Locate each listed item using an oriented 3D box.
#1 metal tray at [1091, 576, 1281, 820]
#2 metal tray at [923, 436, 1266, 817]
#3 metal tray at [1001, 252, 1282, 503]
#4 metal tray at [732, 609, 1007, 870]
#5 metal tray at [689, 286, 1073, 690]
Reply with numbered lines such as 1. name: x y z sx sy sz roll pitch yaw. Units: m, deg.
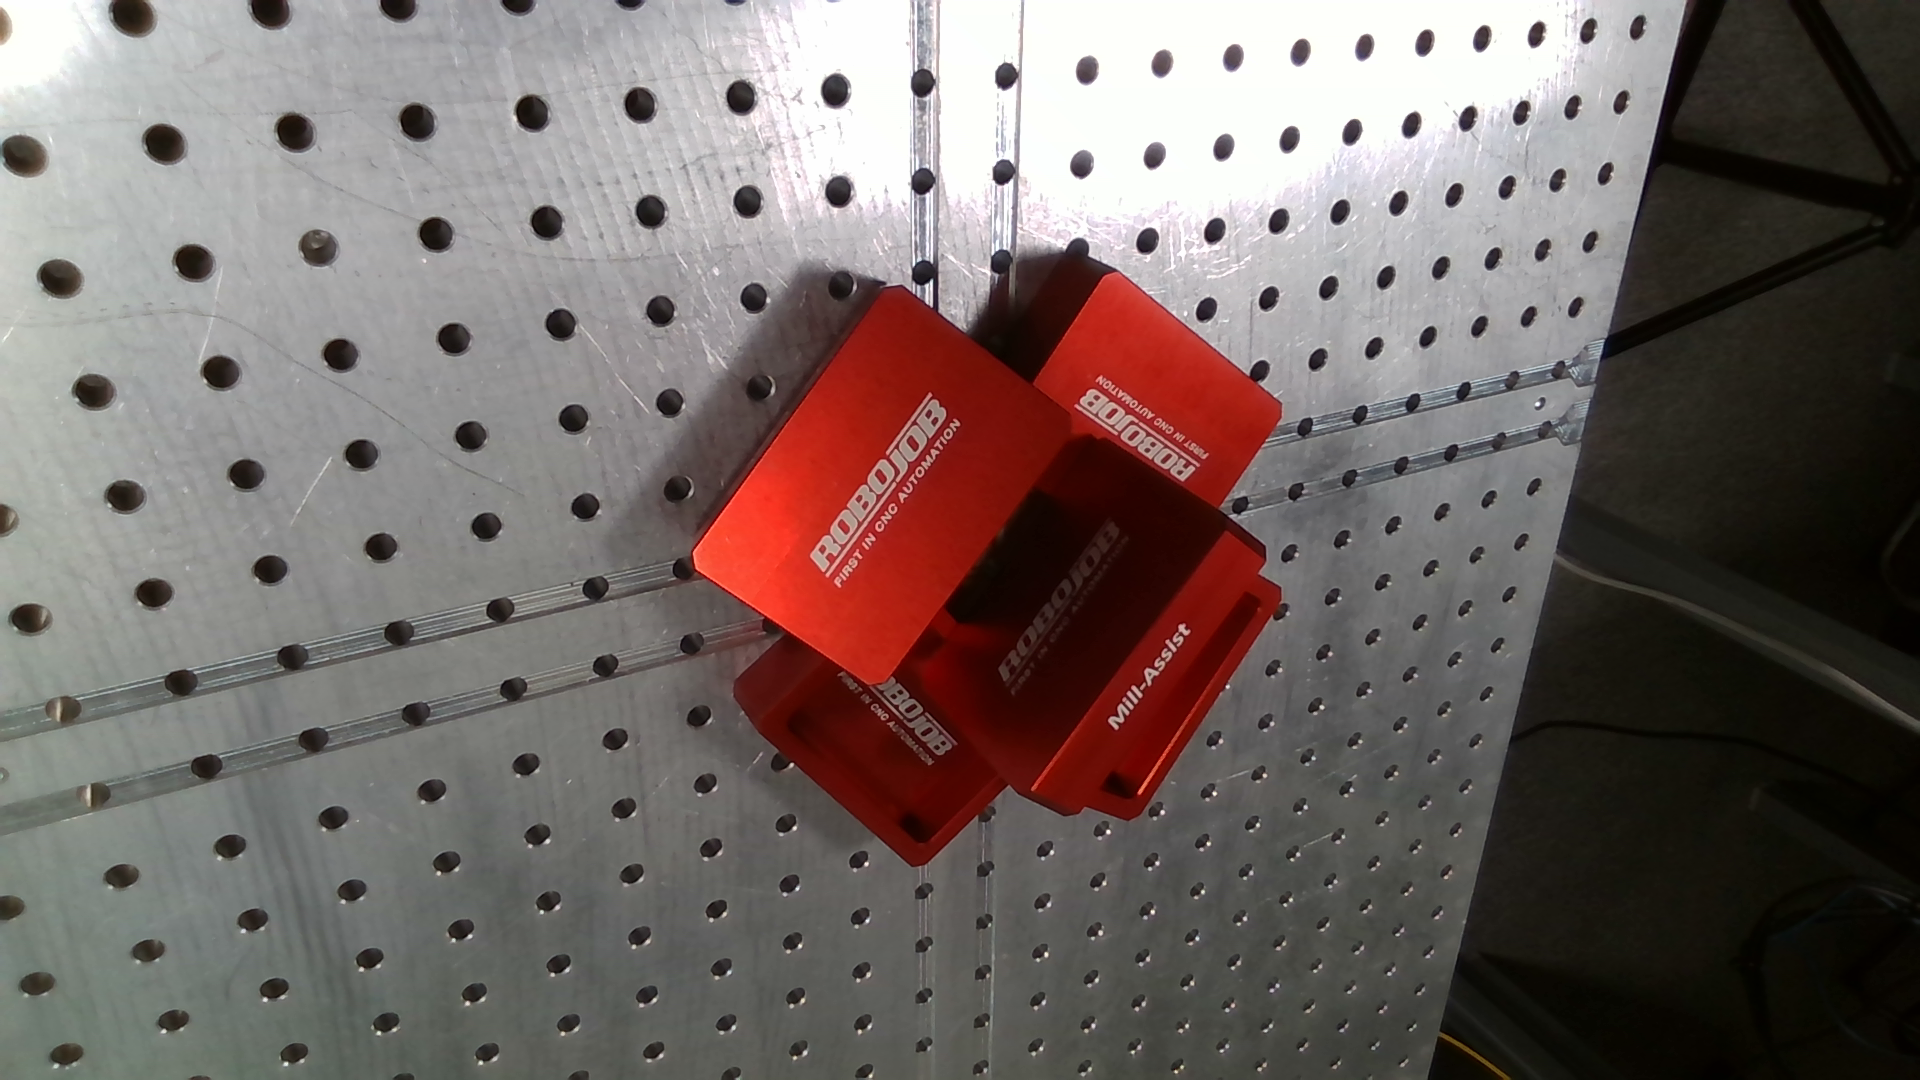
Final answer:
1. metal tray: 0.077 0.057 0.619 0.090 0.030 0.130 25 100 -38
2. metal tray: 0.050 0.032 0.550 0.030 0.090 0.130 31 96 -39
3. metal tray: 0.072 -0.053 0.595 0.130 0.030 0.090 29 98 -39
4. metal tray: -0.026 0.078 0.605 0.090 0.030 0.130 -43 129 -5
5. metal tray: -0.031 -0.020 0.527 0.090 0.030 0.130 35 94 -14
